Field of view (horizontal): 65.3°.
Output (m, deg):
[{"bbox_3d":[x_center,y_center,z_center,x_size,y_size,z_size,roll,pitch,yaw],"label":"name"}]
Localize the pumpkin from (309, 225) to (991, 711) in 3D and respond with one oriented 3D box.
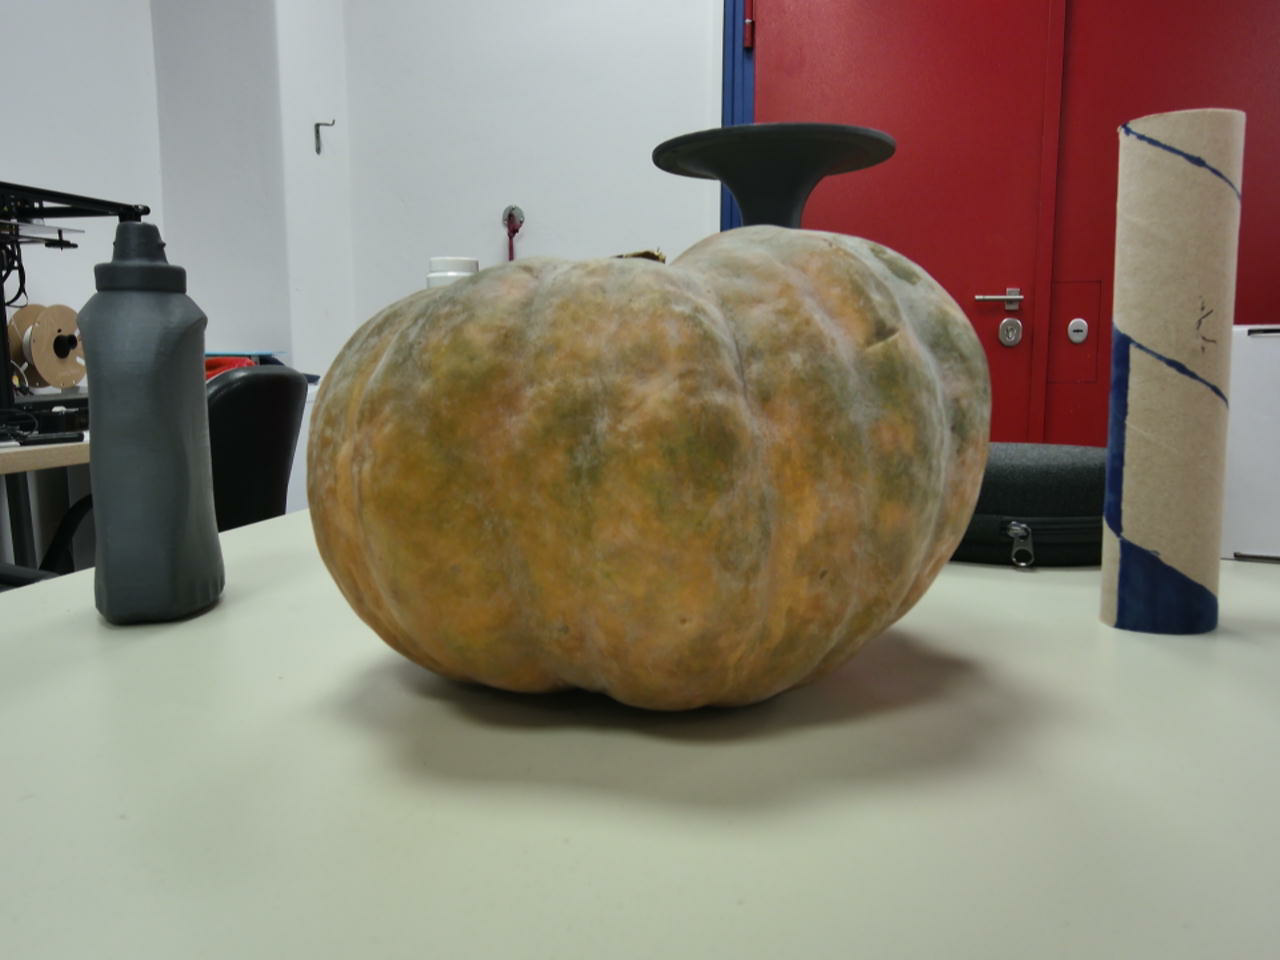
[{"bbox_3d":[-0.002,-0.007,0.390,0.252,0.168,0.252,0,4,0],"label":"pumpkin"}]
